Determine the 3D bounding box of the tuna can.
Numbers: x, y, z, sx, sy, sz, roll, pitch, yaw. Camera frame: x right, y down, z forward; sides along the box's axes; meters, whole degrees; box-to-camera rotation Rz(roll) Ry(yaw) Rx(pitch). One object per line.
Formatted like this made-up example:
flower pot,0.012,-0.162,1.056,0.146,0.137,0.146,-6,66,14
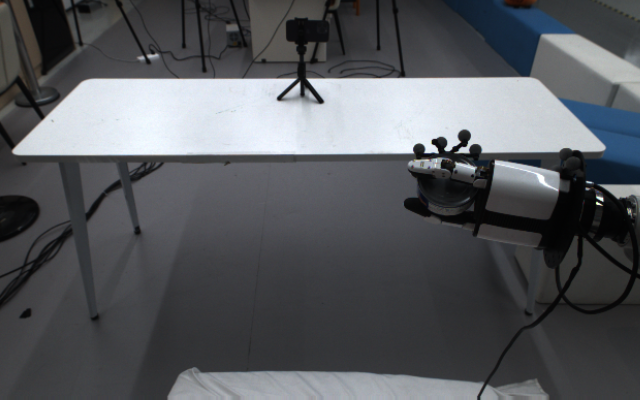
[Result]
tuna can,0.180,-0.023,0.682,0.085,0.034,0.085,-4,61,7
